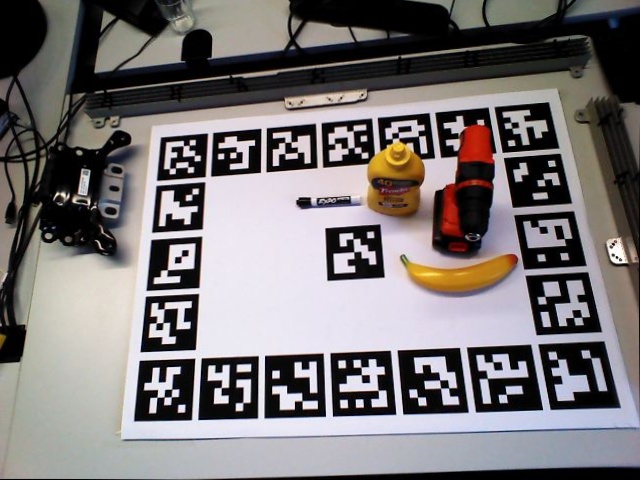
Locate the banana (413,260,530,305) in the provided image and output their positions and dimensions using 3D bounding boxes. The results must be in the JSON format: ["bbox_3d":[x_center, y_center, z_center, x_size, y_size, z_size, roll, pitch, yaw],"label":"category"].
[{"bbox_3d":[0.260,0.076,0.895,0.198,0.039,0.074,3,72,10],"label":"banana"}]

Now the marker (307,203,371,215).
[{"bbox_3d":[0.036,-0.059,0.980,0.121,0.020,0.019,-2,71,7],"label":"marker"}]

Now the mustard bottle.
[{"bbox_3d":[0.153,-0.088,0.883,0.096,0.192,0.058,7,71,8],"label":"mustard bottle"}]

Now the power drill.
[{"bbox_3d":[0.257,-0.040,0.835,0.057,0.187,0.183,10,69,8],"label":"power drill"}]
